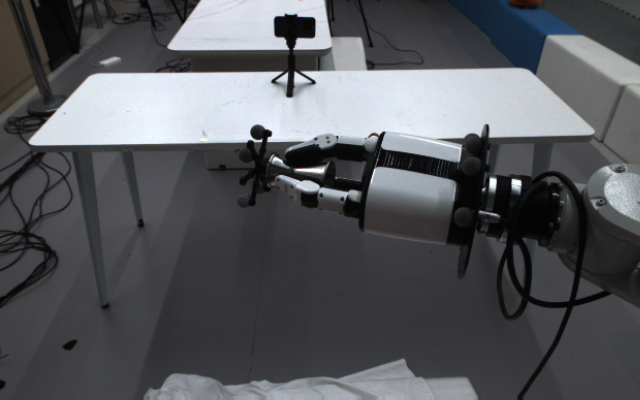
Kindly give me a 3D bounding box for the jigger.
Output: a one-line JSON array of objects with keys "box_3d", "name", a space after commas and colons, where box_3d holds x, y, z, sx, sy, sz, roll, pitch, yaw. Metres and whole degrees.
[{"box_3d": [-0.015, -0.030, 0.541, 0.071, 0.043, 0.043, 10, 36, 15], "name": "jigger"}]
